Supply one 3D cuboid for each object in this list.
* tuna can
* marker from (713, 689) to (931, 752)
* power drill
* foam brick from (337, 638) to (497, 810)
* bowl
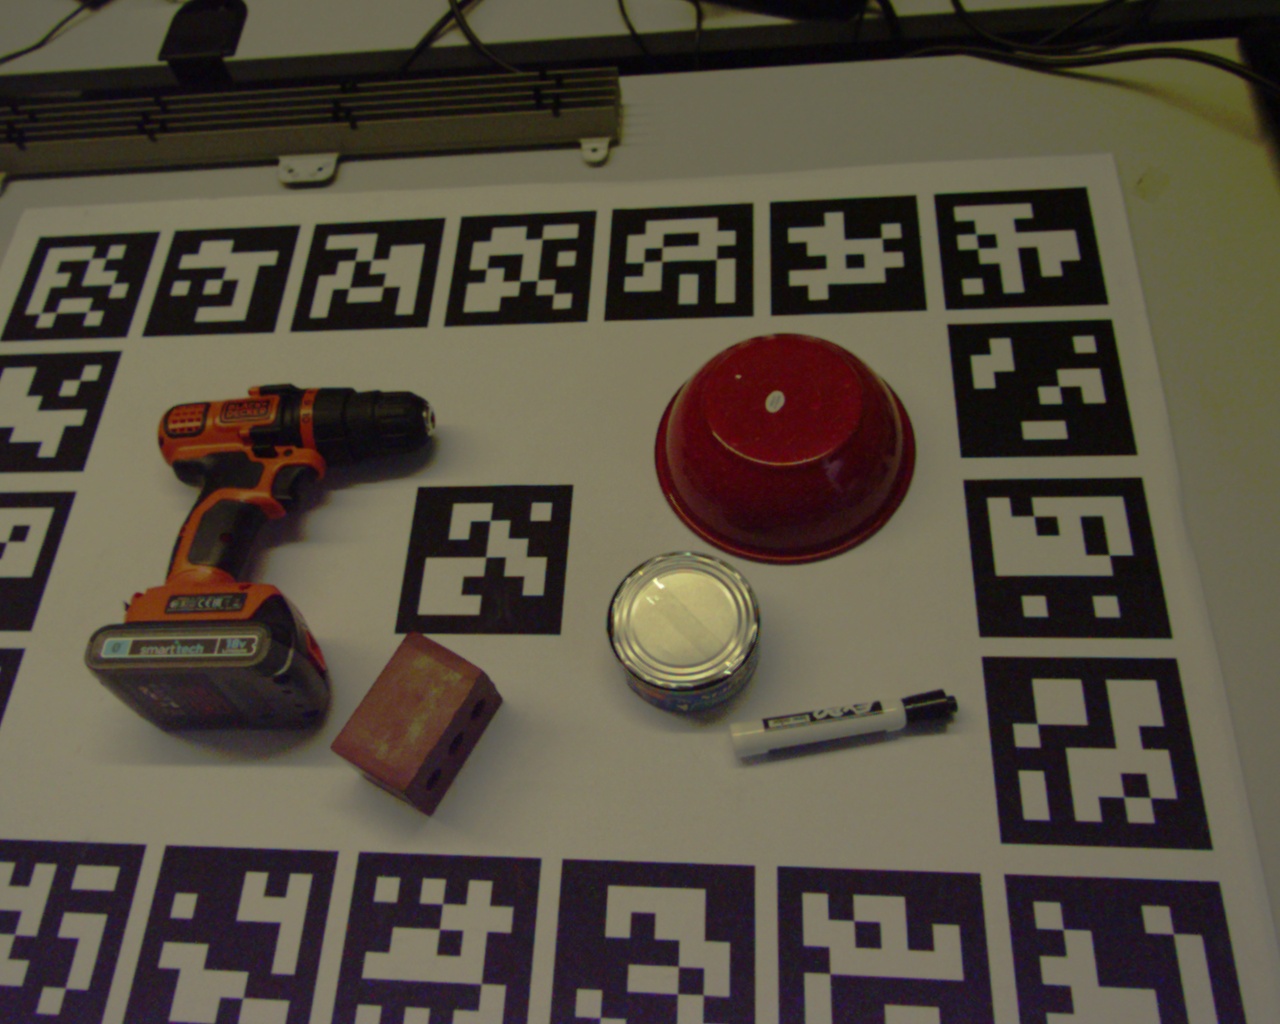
[{"bbox_3d":[0.019,0.068,0.670,0.086,0.033,0.086,-2,61,4],"label":"tuna can"},{"bbox_3d":[0.102,0.116,0.639,0.121,0.019,0.020,-9,62,2],"label":"marker"},{"bbox_3d":[-0.238,0.023,0.723,0.185,0.057,0.187,0,59,4],"label":"power drill"},{"bbox_3d":[-0.128,0.123,0.658,0.052,0.052,0.078,22,68,16],"label":"foam brick"},{"bbox_3d":[0.074,-0.046,0.725,0.162,0.055,0.162,-6,54,7],"label":"bowl"}]
